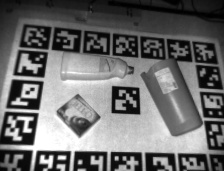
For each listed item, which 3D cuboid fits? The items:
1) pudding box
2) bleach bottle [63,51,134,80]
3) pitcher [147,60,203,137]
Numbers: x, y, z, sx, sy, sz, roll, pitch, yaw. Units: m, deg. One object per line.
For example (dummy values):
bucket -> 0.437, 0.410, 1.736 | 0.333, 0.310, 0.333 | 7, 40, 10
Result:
pudding box -> -0.107, 0.093, 0.701 | 0.090, 0.038, 0.113 | -39, 81, -26
bleach bottle -> -0.043, -0.067, 0.764 | 0.252, 0.068, 0.102 | 1, 74, -11
pitcher -> 0.214, 0.043, 0.747 | 0.191, 0.132, 0.241 | -10, 73, -48
